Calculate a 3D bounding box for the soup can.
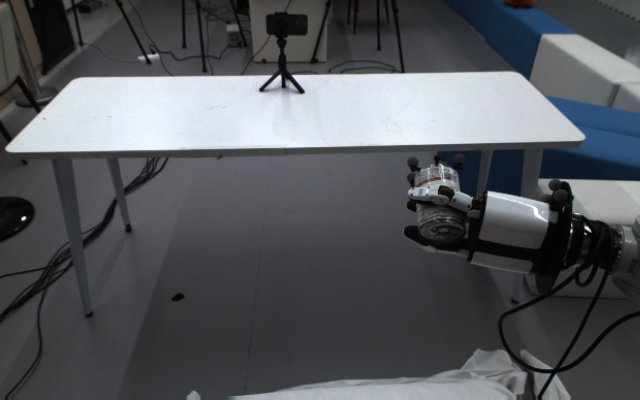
[{"bbox_3d":[0.177,0.005,0.716,0.067,0.067,0.101,3,57,1],"label":"soup can"}]
